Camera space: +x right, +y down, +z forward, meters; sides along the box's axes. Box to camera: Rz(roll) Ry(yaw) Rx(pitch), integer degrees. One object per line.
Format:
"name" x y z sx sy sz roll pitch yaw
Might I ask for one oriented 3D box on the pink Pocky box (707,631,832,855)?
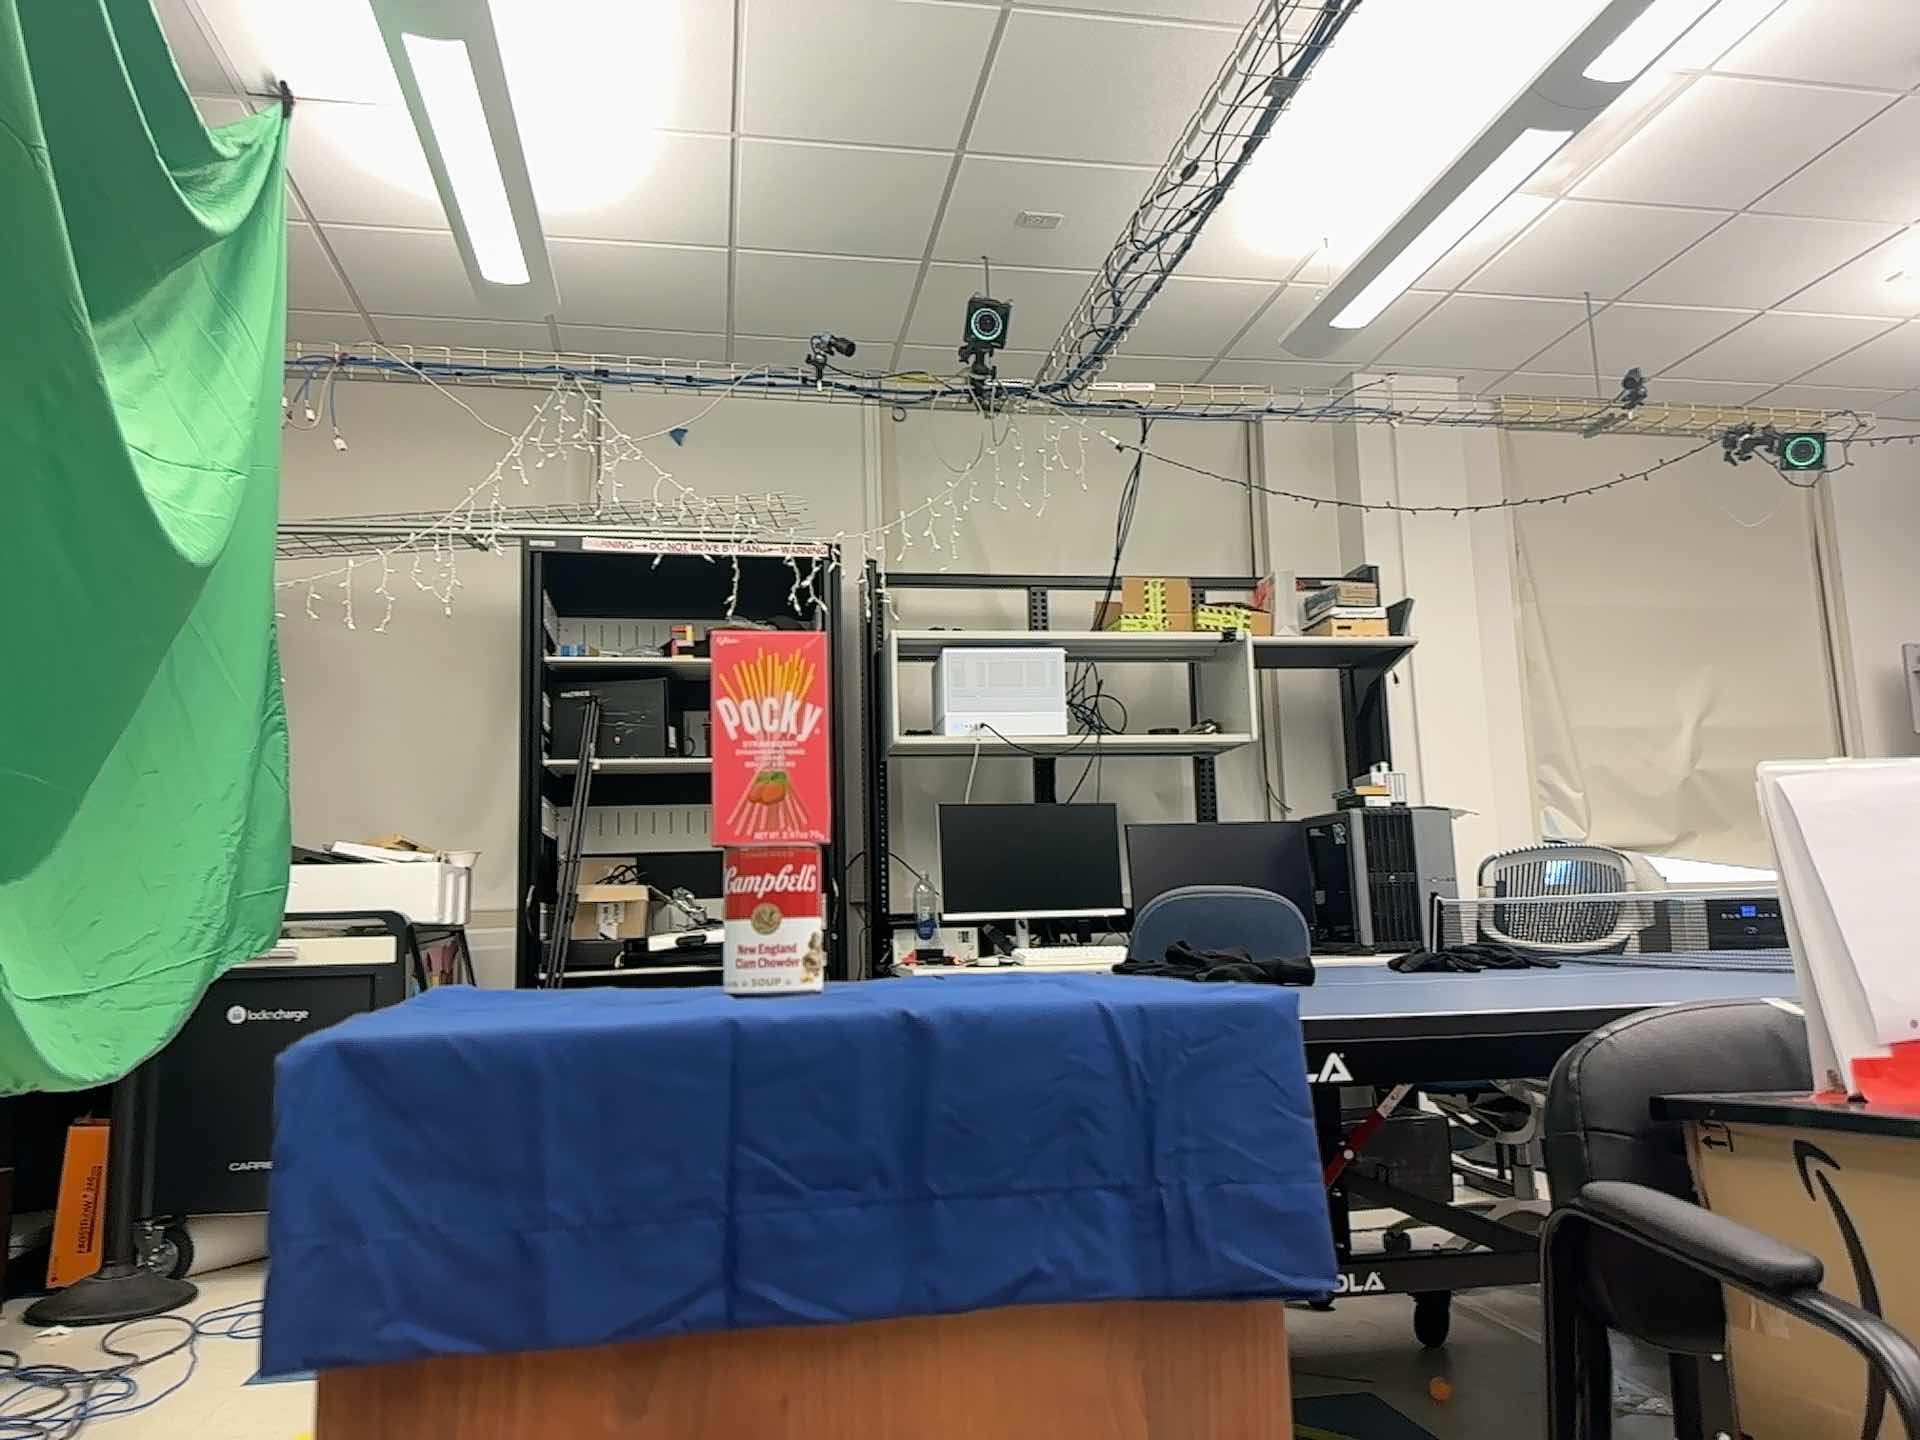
"pink Pocky box" -0.134 0.015 0.940 0.084 0.155 0.029 -1 -8 -5

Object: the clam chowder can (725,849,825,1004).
"clam chowder can" -0.128 0.142 0.926 0.068 0.102 0.068 -2 -9 0
